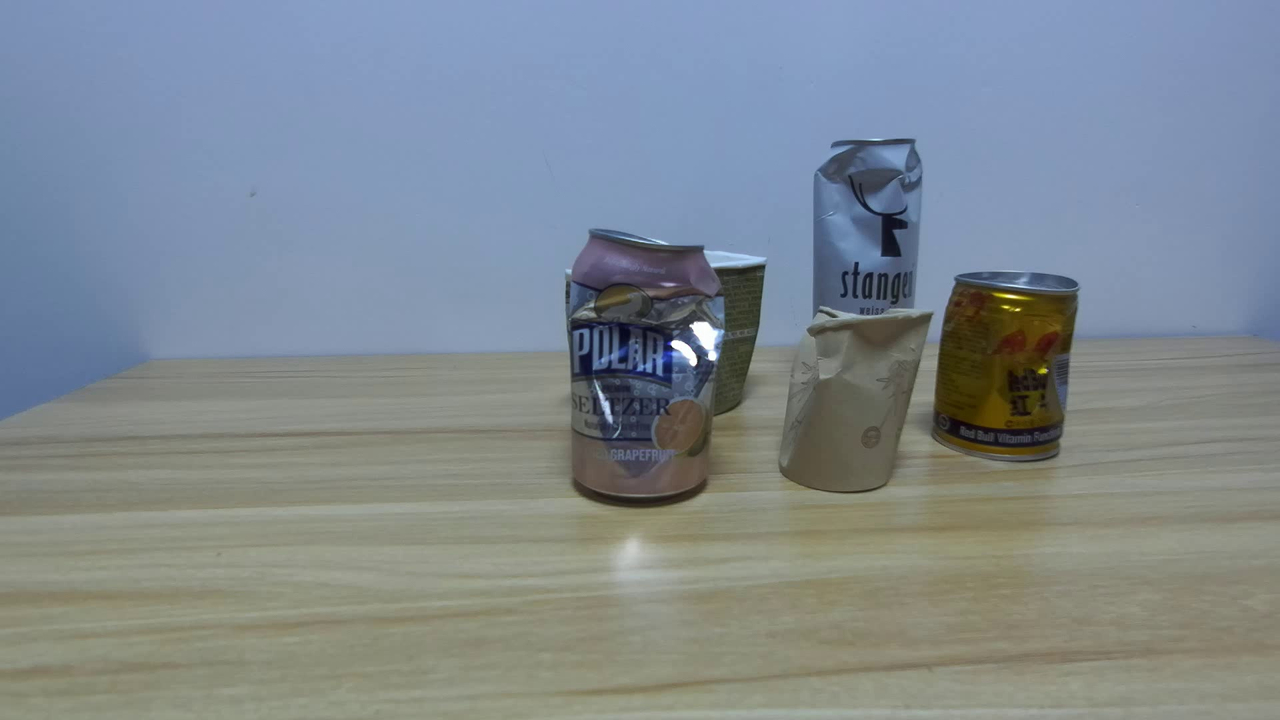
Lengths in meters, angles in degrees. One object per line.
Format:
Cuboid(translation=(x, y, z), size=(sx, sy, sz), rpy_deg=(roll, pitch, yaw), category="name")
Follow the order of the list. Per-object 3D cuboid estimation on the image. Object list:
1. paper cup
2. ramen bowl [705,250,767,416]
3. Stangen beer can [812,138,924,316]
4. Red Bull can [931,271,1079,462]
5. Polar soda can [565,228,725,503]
Cuboid(translation=(0.096, 0.016, 0.346), size=(0.067, 0.083, 0.058), rpy_deg=(-6, 12, -34), category="paper cup")
Cuboid(translation=(0.010, -0.020, 0.460), size=(0.111, 0.093, 0.129), rpy_deg=(14, 20, 42), category="ramen bowl")
Cuboid(translation=(0.154, -0.062, 0.482), size=(0.065, 0.166, 0.066), rpy_deg=(8, 15, 33), category="Stangen beer can")
Cuboid(translation=(0.199, 0.001, 0.385), size=(0.072, 0.092, 0.072), rpy_deg=(1, 15, 0), category="Red Bull can")
Cuboid(translation=(0.005, 0.003, 0.337), size=(0.071, 0.121, 0.067), rpy_deg=(3, 7, 11), category="Polar soda can")
